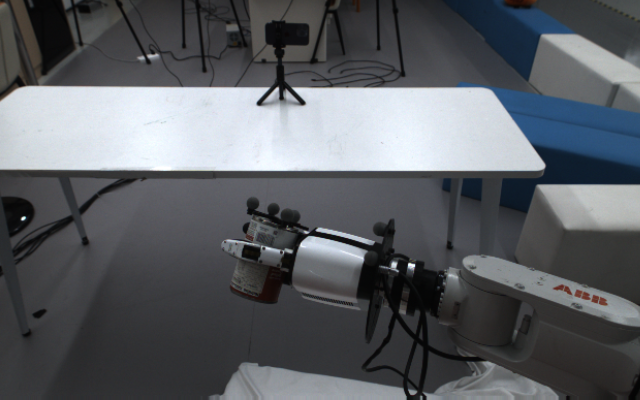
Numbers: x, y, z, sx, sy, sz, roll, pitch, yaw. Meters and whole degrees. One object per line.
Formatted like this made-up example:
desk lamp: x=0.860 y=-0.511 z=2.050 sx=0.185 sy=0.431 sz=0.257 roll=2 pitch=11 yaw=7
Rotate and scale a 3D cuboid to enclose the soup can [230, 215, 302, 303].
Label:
soup can: x=-0.073 y=0.080 z=0.644 sx=0.067 sy=0.101 sz=0.067 roll=17 pitch=-1 yaw=0
